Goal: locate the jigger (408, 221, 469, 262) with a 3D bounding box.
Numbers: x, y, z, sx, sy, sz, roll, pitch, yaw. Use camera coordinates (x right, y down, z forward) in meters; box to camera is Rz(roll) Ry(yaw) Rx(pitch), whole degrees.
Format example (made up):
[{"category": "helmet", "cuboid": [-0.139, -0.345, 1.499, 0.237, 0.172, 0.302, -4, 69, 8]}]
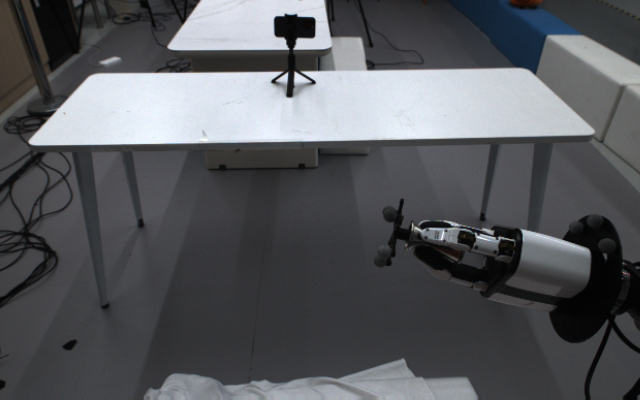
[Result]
[{"category": "jigger", "cuboid": [0.152, 0.049, 0.611, 0.071, 0.043, 0.043, 13, 36, 3]}]
